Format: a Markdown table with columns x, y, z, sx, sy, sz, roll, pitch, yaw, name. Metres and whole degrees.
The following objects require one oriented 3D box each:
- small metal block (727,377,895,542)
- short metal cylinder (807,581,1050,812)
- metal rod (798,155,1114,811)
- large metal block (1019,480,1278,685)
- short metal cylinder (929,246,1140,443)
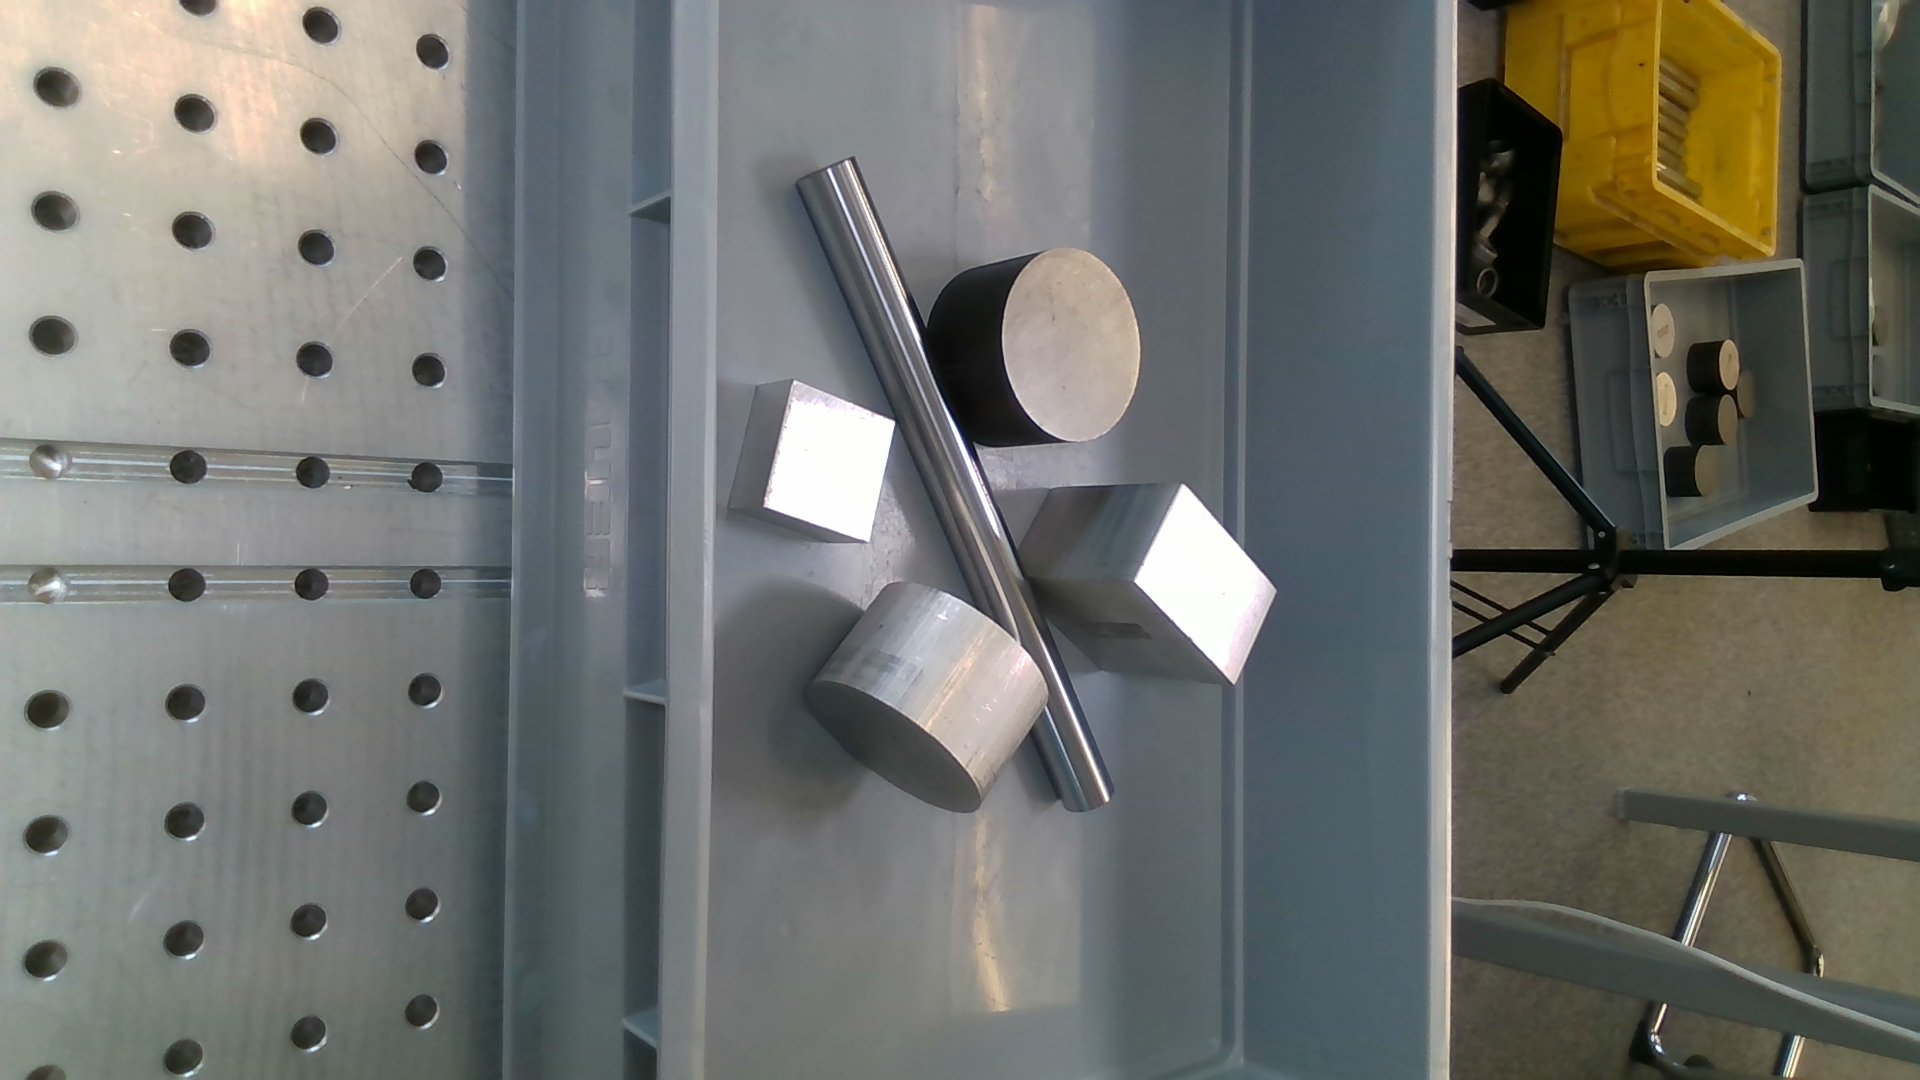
| x | y | z | sx | sy | sz | roll | pitch | yaw | name |
| --- | --- | --- | --- | --- | --- | --- | --- | --- | --- |
| -0.057 | -0.030 | 0.534 | 0.050 | 0.025 | 0.050 | 19 | 78 | -39 | small metal block |
| -0.012 | 0.061 | 0.536 | 0.080 | 0.080 | 0.050 | 51 | 60 | -28 | short metal cylinder |
| 0.003 | -0.014 | 0.585 | 0.025 | 0.025 | 0.301 | -36 | 112 | -34 | metal rod |
| 0.080 | 0.019 | 0.614 | 0.080 | 0.080 | 0.050 | 44 | 63 | -31 | large metal block |
| 0.032 | -0.082 | 0.592 | 0.080 | 0.050 | 0.080 | 0 | 90 | -40 | short metal cylinder |
